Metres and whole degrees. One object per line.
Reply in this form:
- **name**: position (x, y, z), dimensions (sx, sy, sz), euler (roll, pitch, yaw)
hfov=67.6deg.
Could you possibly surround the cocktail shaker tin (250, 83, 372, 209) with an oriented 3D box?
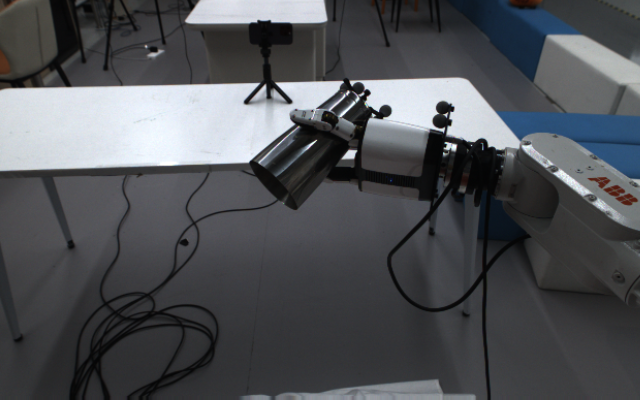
- **cocktail shaker tin**: position (-0.006, -0.081, 0.679), dimensions (0.170, 0.093, 0.093), euler (-43, 50, -14)
